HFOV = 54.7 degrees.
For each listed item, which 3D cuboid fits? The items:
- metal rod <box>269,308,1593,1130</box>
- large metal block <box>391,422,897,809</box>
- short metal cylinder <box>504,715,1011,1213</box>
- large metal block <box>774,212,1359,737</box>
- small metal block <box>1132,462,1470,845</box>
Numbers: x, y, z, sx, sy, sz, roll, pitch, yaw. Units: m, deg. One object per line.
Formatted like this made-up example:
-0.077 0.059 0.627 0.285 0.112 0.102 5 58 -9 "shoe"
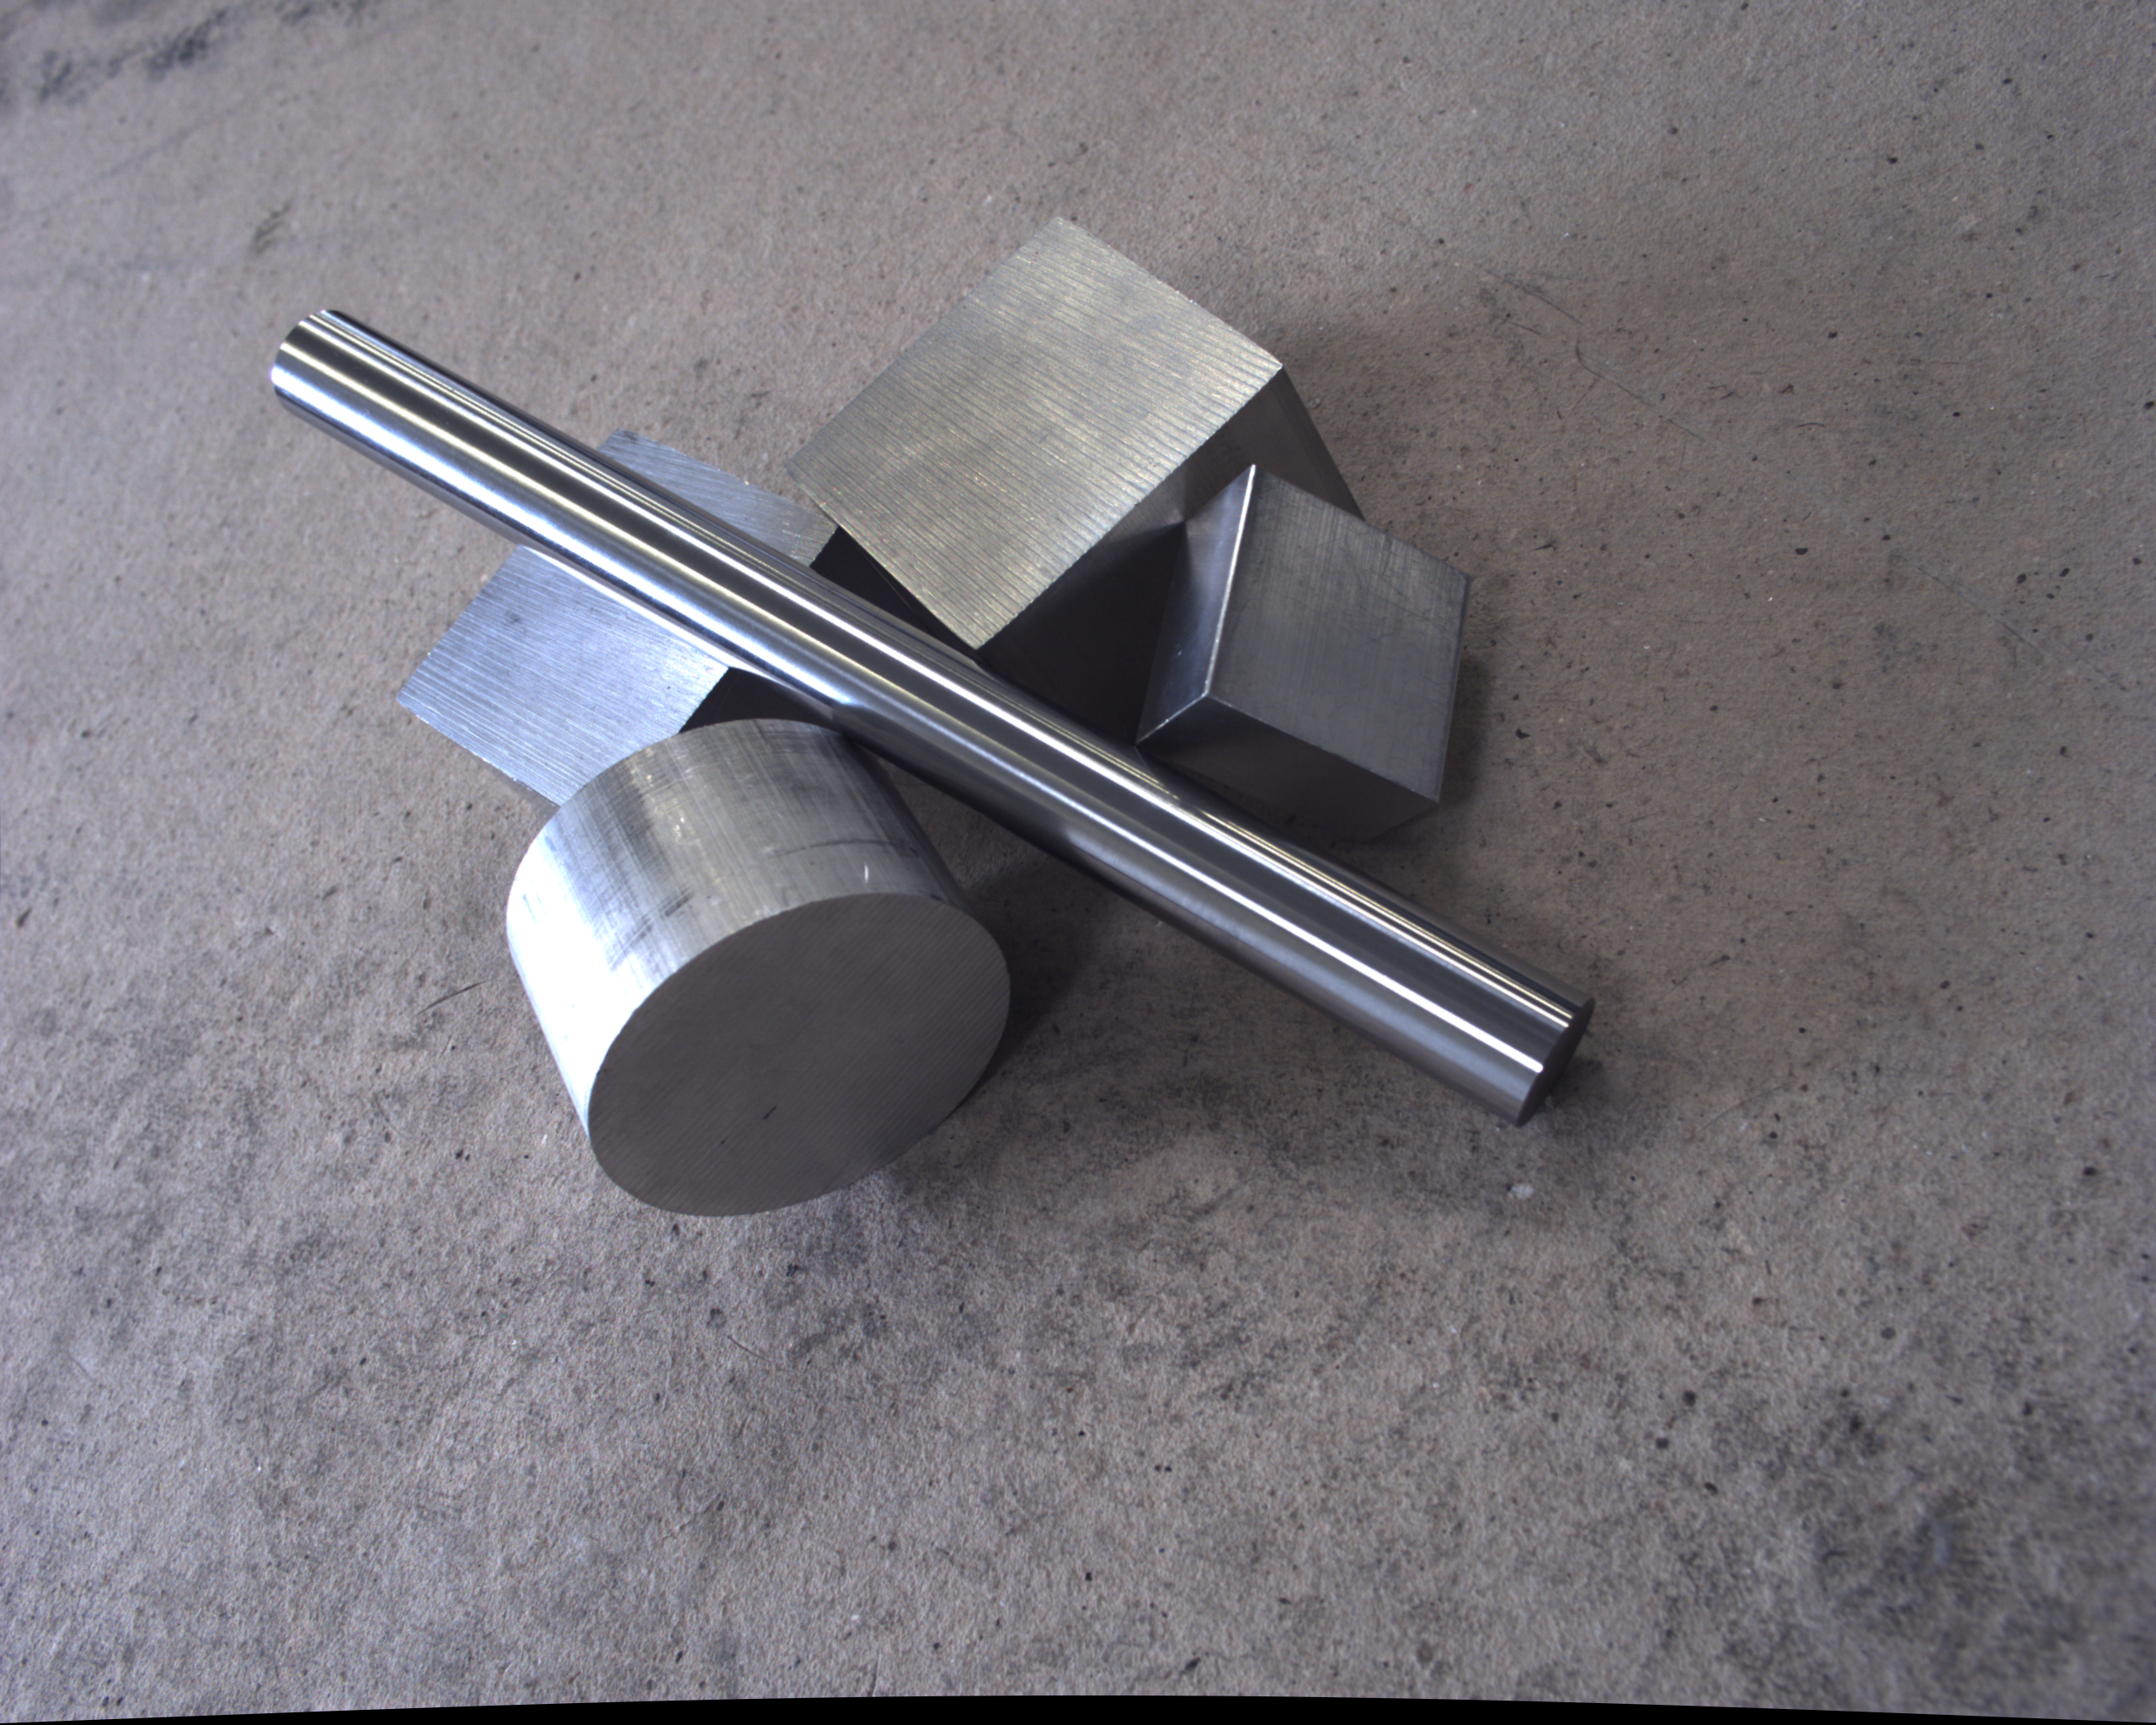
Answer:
-0.043 -0.037 0.398 0.300 0.025 0.025 30 78 21 "metal rod"
-0.089 -0.041 0.461 0.080 0.050 0.080 28 77 37 "large metal block"
-0.060 0.019 0.389 0.080 0.080 0.050 -38 51 3 "short metal cylinder"
-0.002 -0.076 0.434 0.080 0.050 0.080 -43 51 -2 "large metal block"
0.042 -0.038 0.388 0.025 0.050 0.050 -32 40 56 "small metal block"
